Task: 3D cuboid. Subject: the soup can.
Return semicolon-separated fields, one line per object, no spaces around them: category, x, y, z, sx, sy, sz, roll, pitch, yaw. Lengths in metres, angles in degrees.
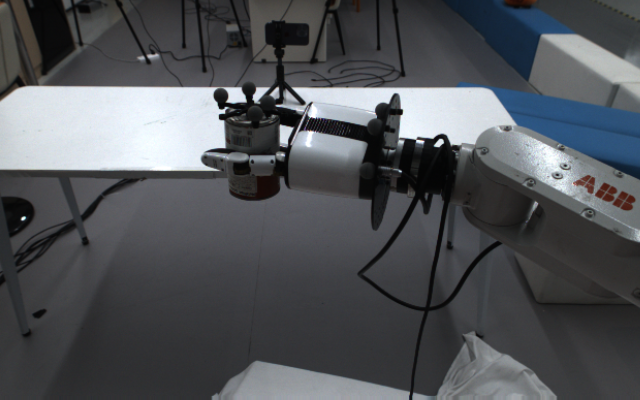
soup can;-0.081;-0.059;0.596;0.067;0.101;0.067;2;32;-1
